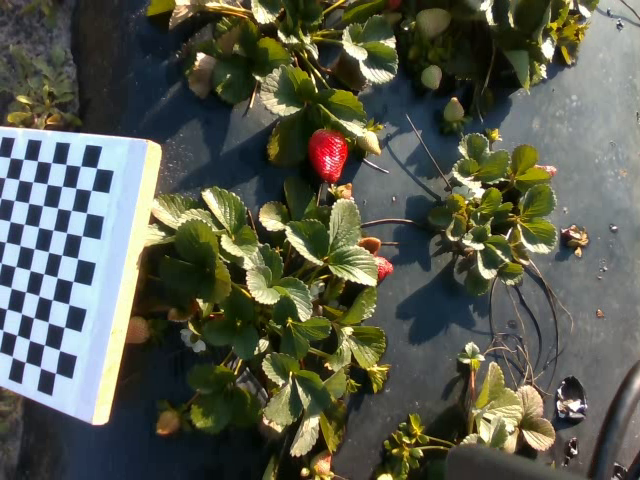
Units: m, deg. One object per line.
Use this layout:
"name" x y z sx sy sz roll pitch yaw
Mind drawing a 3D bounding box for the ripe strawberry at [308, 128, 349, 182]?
"ripe strawberry" 0.011 -0.093 0.708 0.056 0.072 0.055 -18 -26 24
